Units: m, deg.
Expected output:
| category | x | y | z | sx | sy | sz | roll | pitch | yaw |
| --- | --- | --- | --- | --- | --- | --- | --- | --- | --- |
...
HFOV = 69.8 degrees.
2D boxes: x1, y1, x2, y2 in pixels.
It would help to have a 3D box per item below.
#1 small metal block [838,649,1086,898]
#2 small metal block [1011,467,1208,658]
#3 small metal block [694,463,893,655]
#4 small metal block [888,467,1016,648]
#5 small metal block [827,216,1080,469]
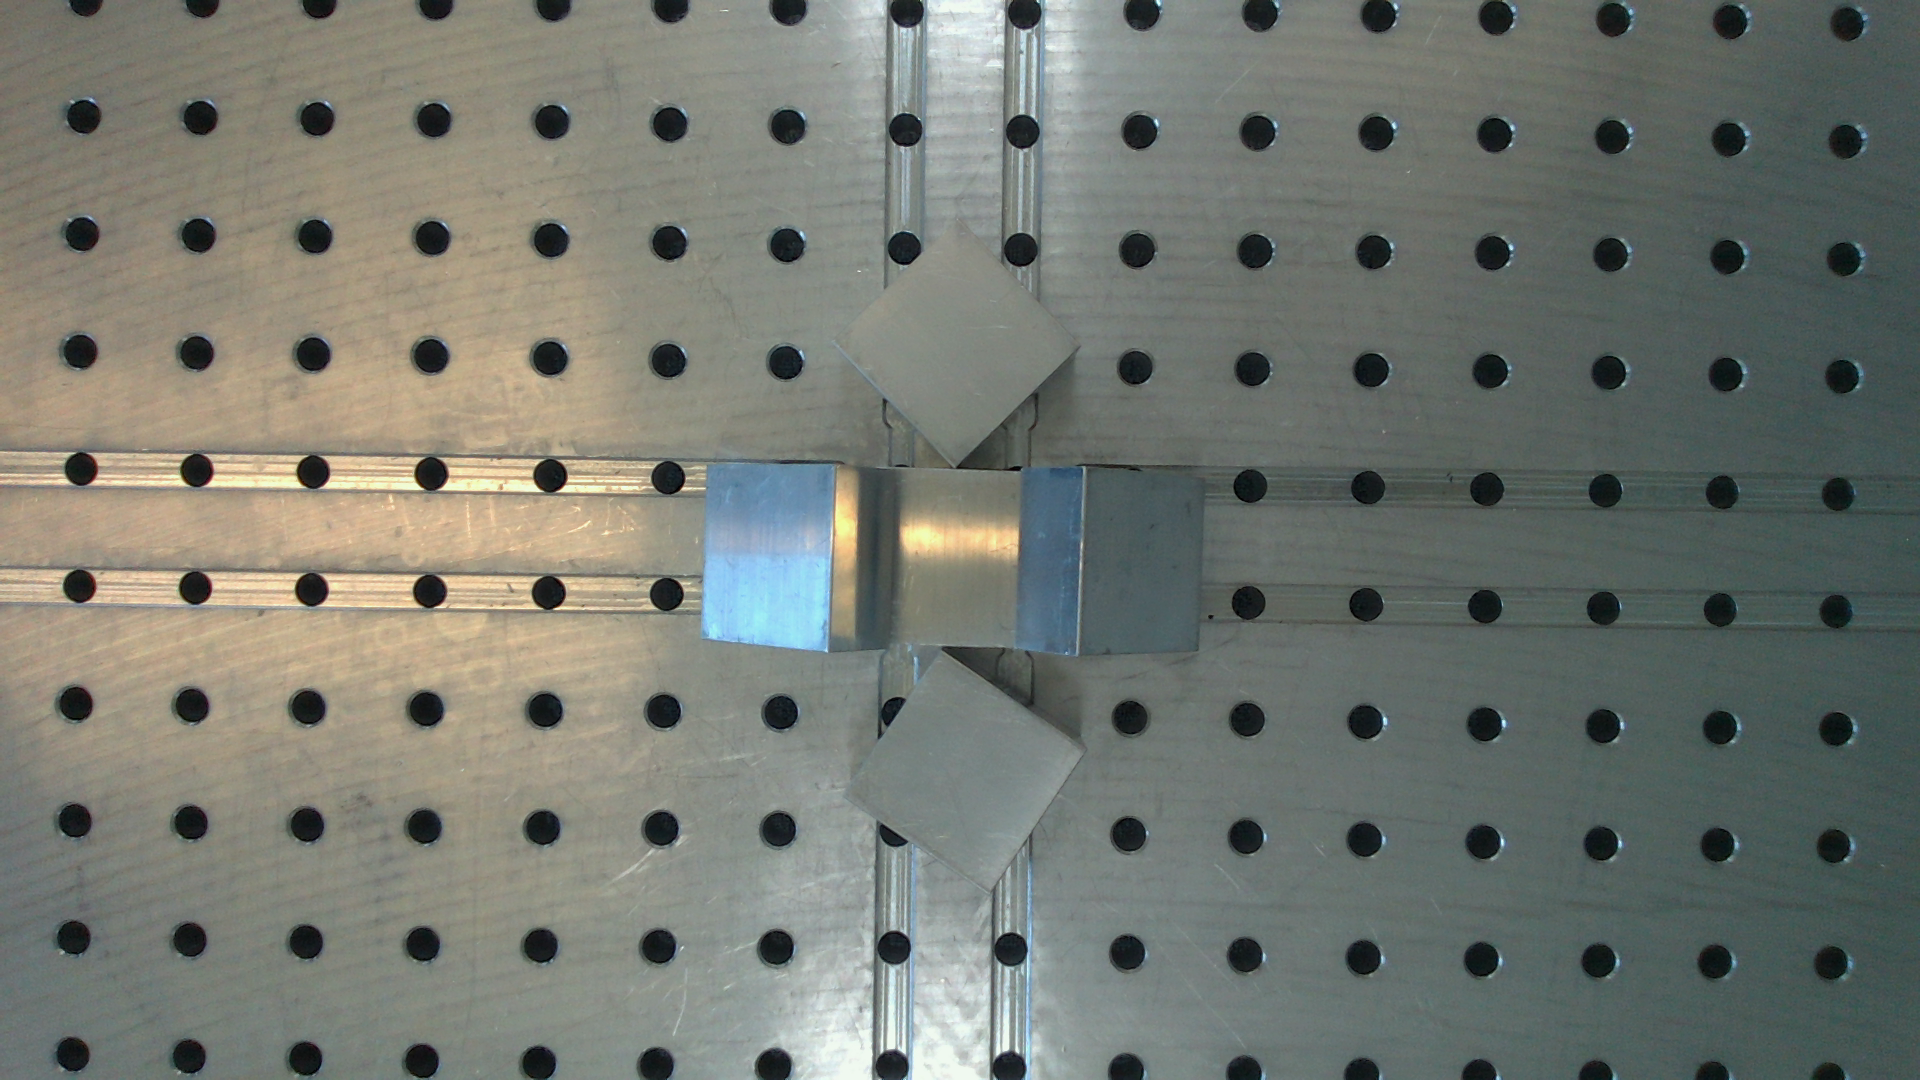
| category | x | y | z | sx | sy | sz | roll | pitch | yaw |
| --- | --- | --- | --- | --- | --- | --- | --- | --- | --- |
| small metal block | 0.001 | 0.065 | 0.397 | 0.050 | 0.025 | 0.050 | 34 | 91 | 1 |
| small metal block | 0.042 | 0.006 | 0.384 | 0.050 | 0.025 | 0.050 | 3 | 90 | -41 |
| small metal block | -0.047 | 0.004 | 0.385 | 0.050 | 0.025 | 0.050 | 3 | 91 | 36 |
| small metal block | -0.001 | 0.005 | 0.397 | 0.050 | 0.025 | 0.050 | 1 | 89 | 0 |
| small metal block | -0.002 | -0.055 | 0.397 | 0.050 | 0.025 | 0.050 | -44 | 90 | -1 |
